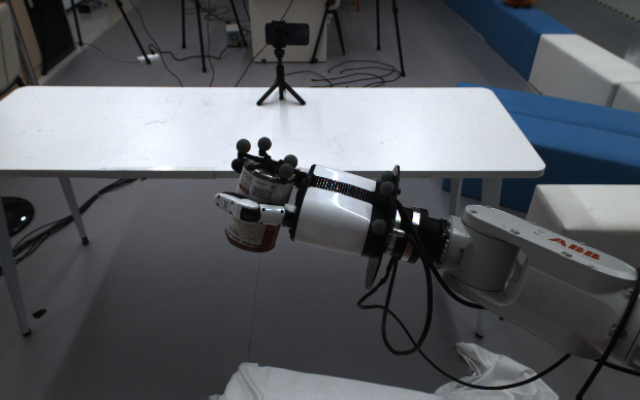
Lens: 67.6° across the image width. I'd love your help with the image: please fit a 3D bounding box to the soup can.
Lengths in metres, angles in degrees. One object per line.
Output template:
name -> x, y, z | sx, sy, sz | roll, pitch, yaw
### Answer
soup can -> -0.074, 0.006, 0.609 | 0.067, 0.101, 0.067 | 17, 21, -7
